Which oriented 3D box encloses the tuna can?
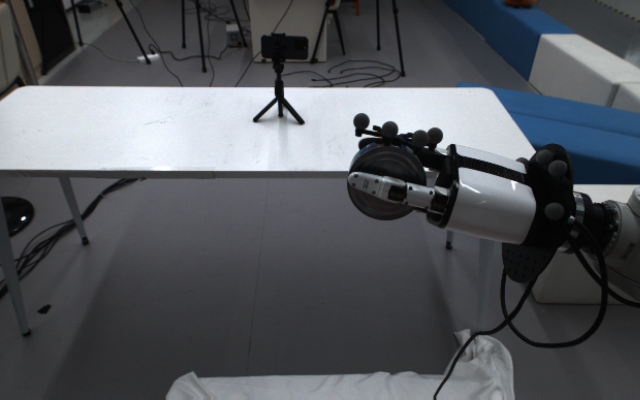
[{"bbox_3d":[0.075,-0.024,0.541,0.085,0.085,0.034,5,18,4],"label":"tuna can"}]
